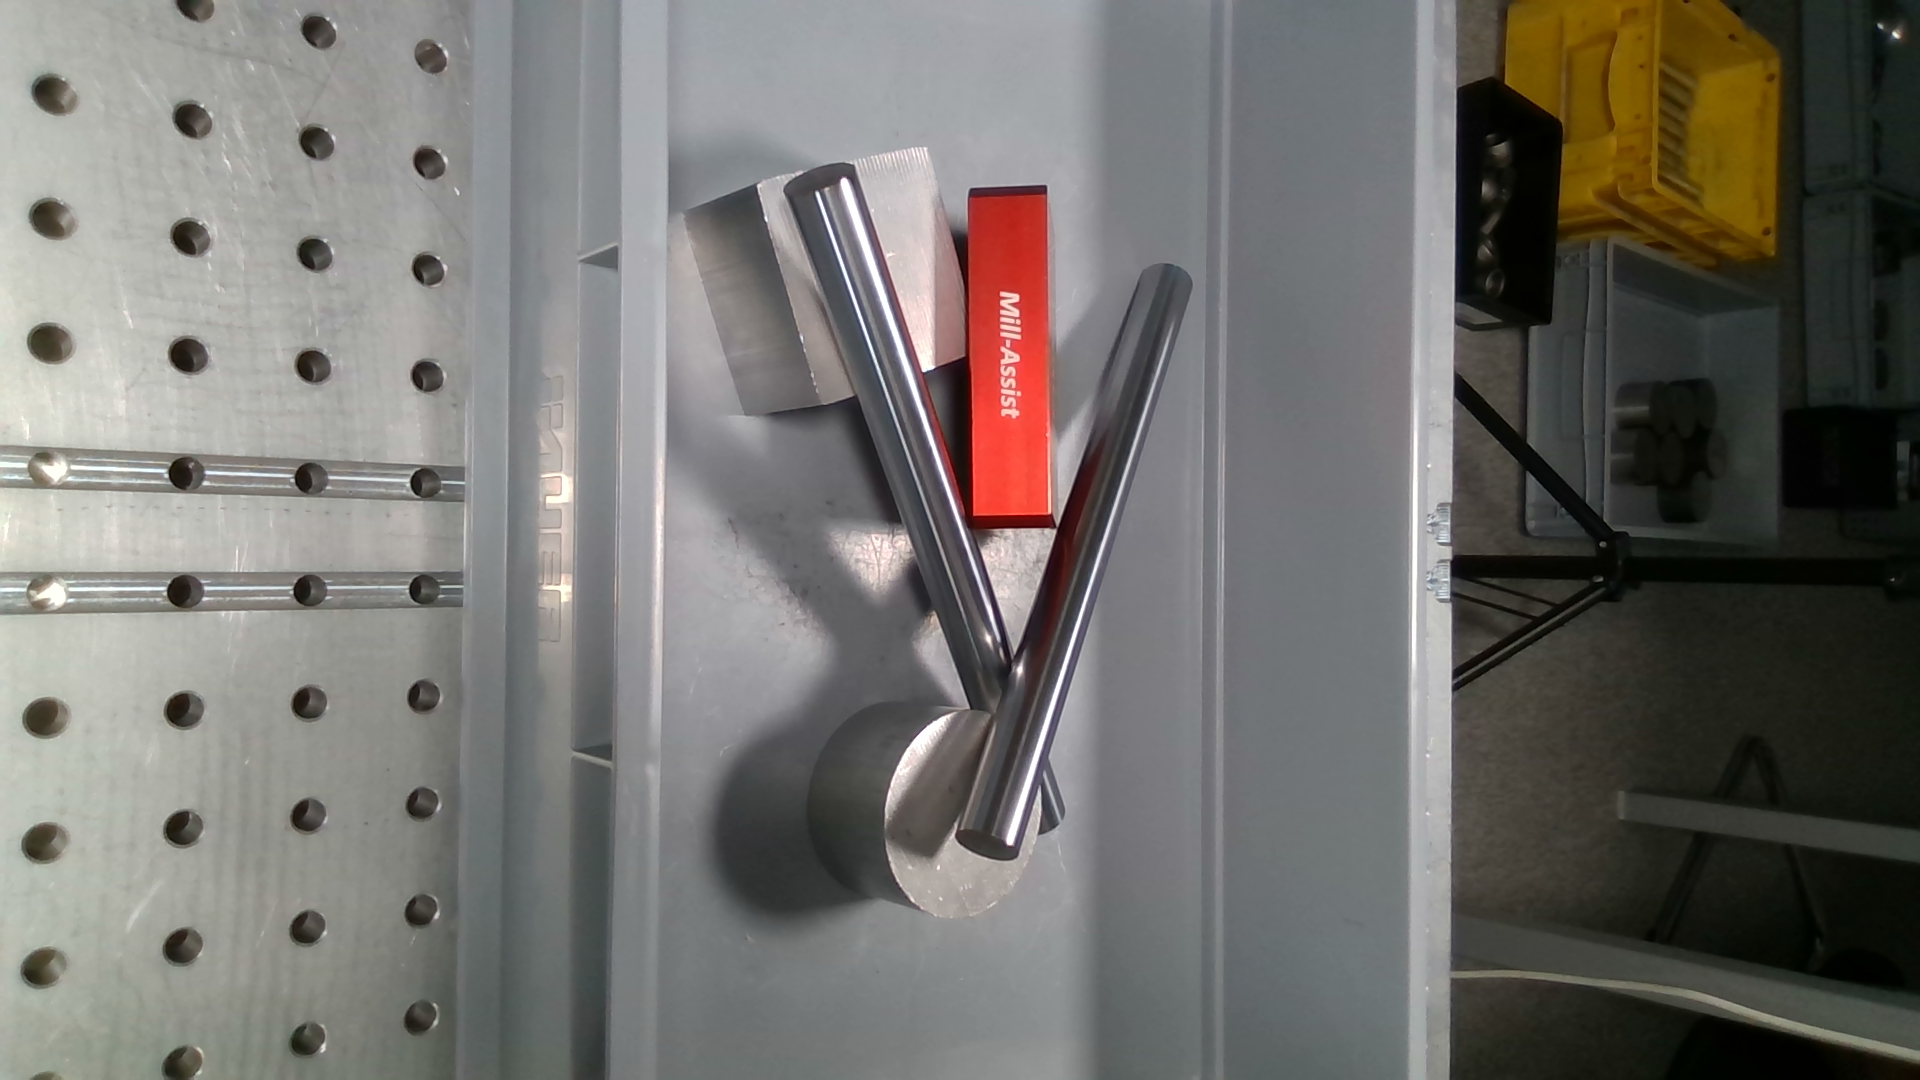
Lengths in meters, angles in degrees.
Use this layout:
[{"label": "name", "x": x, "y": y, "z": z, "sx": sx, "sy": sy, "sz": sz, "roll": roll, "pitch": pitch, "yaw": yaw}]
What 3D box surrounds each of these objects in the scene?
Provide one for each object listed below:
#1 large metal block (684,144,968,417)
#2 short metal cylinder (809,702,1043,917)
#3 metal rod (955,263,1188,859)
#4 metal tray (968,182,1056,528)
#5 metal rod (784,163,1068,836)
[{"label": "large metal block", "x": -0.047, "y": -0.098, "z": 0.522, "sx": 0.080, "sy": 0.050, "sz": 0.080, "roll": -25, "pitch": 106, "yaw": -38}, {"label": "short metal cylinder", "x": -0.013, "y": 0.106, "z": 0.553, "sx": 0.080, "sy": 0.050, "sz": 0.080, "roll": 0, "pitch": 90, "yaw": -40}, {"label": "metal rod", "x": 0.055, "y": -0.006, "z": 0.590, "sx": 0.025, "sy": 0.025, "sz": 0.299, "roll": 43, "pitch": 51, "yaw": -32}, {"label": "metal tray", "x": 0.023, "y": -0.070, "z": 0.562, "sx": 0.090, "sy": 0.030, "sz": 0.130, "roll": 9, "pitch": 80, "yaw": -84}, {"label": "metal rod", "x": -0.005, "y": 0.002, "z": 0.530, "sx": 0.025, "sy": 0.025, "sz": 0.301, "roll": -42, "pitch": 130, "yaw": -32}]
